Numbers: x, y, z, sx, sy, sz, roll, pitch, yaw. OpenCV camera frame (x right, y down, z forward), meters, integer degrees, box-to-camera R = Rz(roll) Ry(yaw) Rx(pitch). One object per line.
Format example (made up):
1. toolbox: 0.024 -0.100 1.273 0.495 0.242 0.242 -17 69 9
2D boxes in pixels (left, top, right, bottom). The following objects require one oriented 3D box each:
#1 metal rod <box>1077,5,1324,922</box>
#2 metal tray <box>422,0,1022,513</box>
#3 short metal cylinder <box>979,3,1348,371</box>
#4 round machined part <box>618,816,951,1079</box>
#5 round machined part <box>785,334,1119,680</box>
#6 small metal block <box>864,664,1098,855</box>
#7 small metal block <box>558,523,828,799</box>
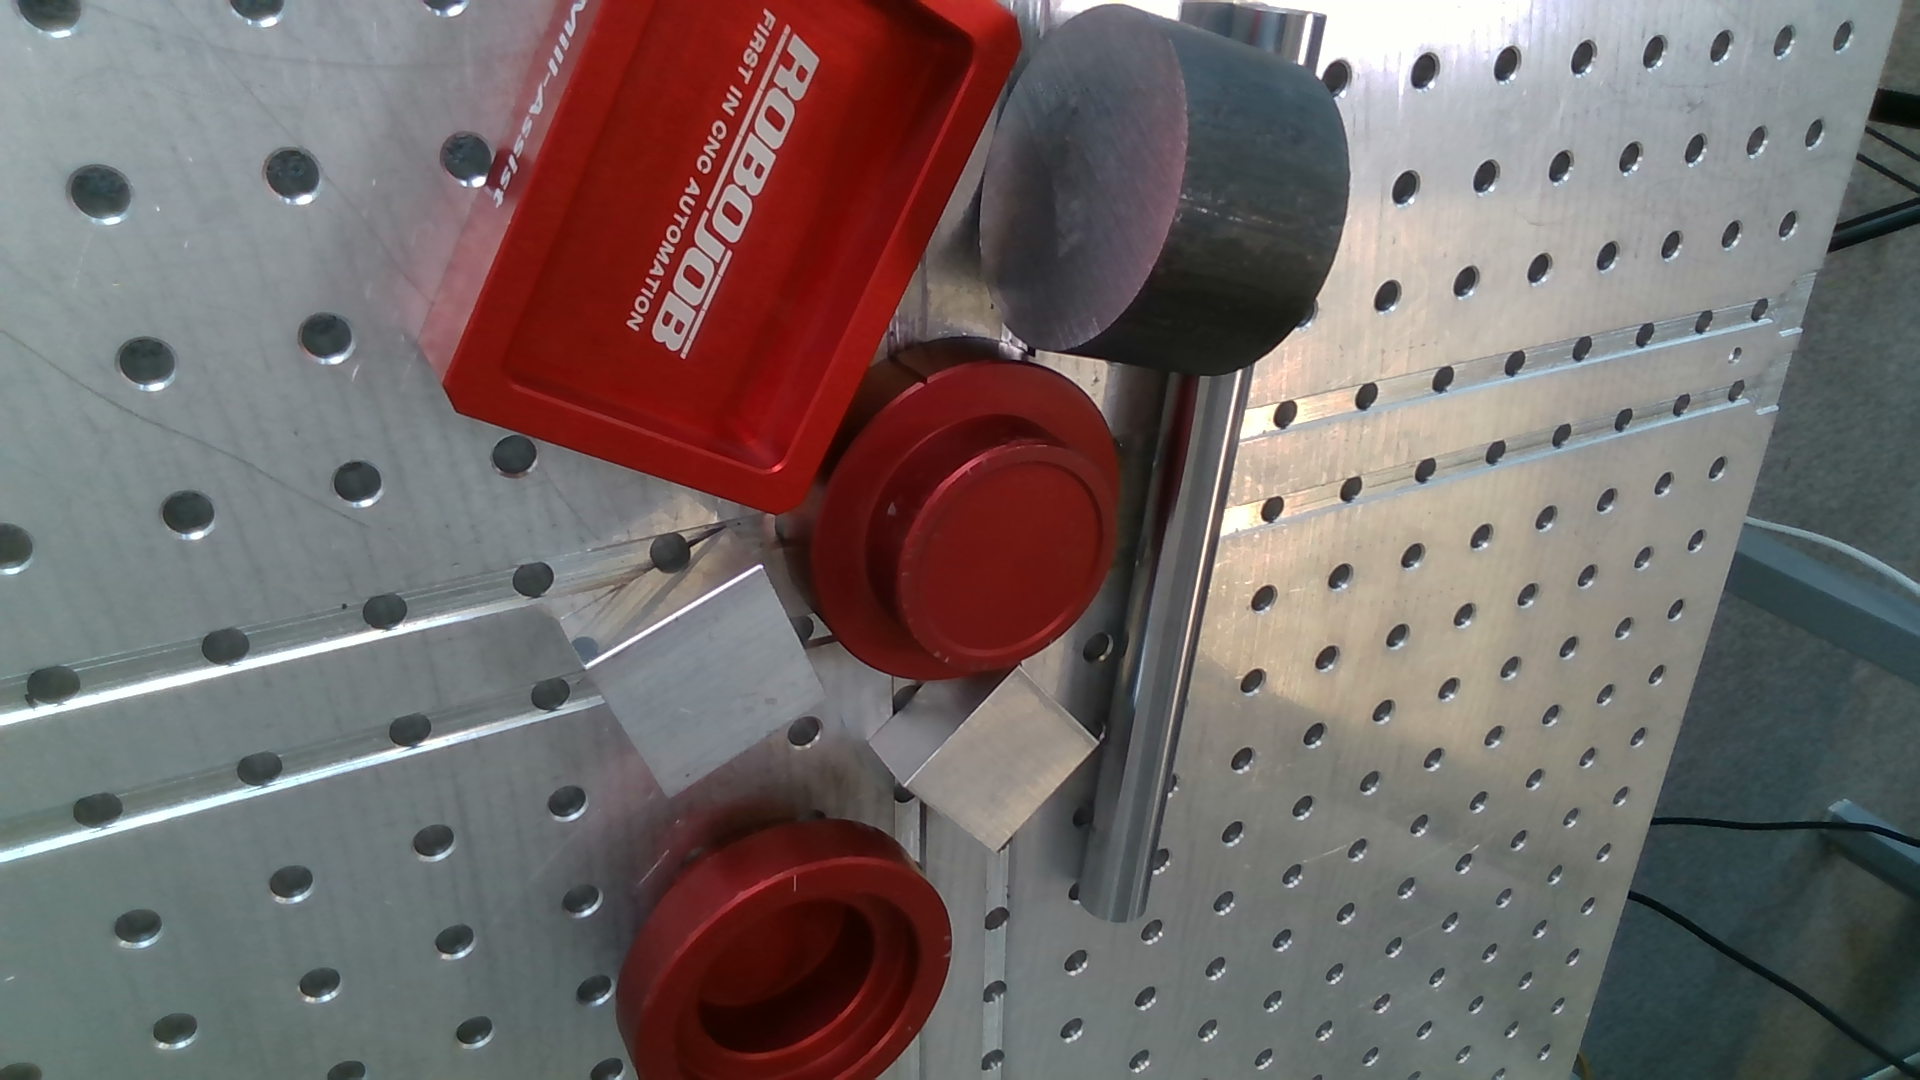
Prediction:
1. metal rod: 0.070 -0.006 0.432 0.025 0.025 0.301 -8 119 -28
2. metal tray: -0.053 -0.080 0.313 0.090 0.030 0.130 19 104 -37
3. short metal cylinder: 0.048 -0.085 0.341 0.050 0.080 0.080 3 113 -33
4. round machined part: -0.055 0.124 0.415 0.098 0.042 0.098 -14 122 -25
5. round machined part: 0.005 -0.004 0.382 0.098 0.042 0.098 -16 122 -27
6. small metal block: 0.007 0.063 0.432 0.050 0.025 0.050 -46 129 -2
7. small metal block: -0.070 0.032 0.367 0.050 0.025 0.050 -31 127 -14
